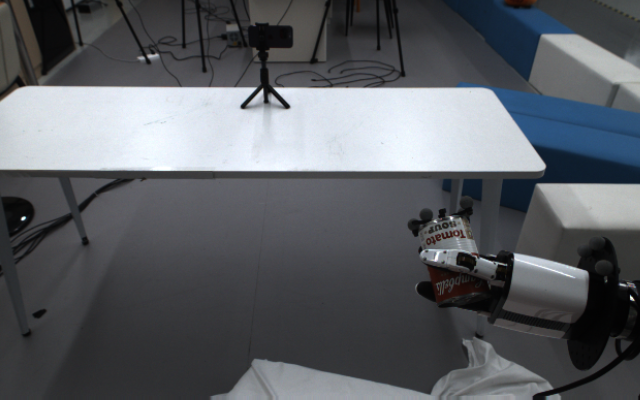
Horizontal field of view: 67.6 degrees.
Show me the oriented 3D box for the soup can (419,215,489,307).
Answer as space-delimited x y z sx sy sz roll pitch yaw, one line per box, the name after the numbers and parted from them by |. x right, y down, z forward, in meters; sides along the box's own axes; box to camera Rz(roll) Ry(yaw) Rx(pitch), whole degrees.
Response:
0.171 0.078 0.616 0.067 0.067 0.101 -6 67 -12 | soup can
